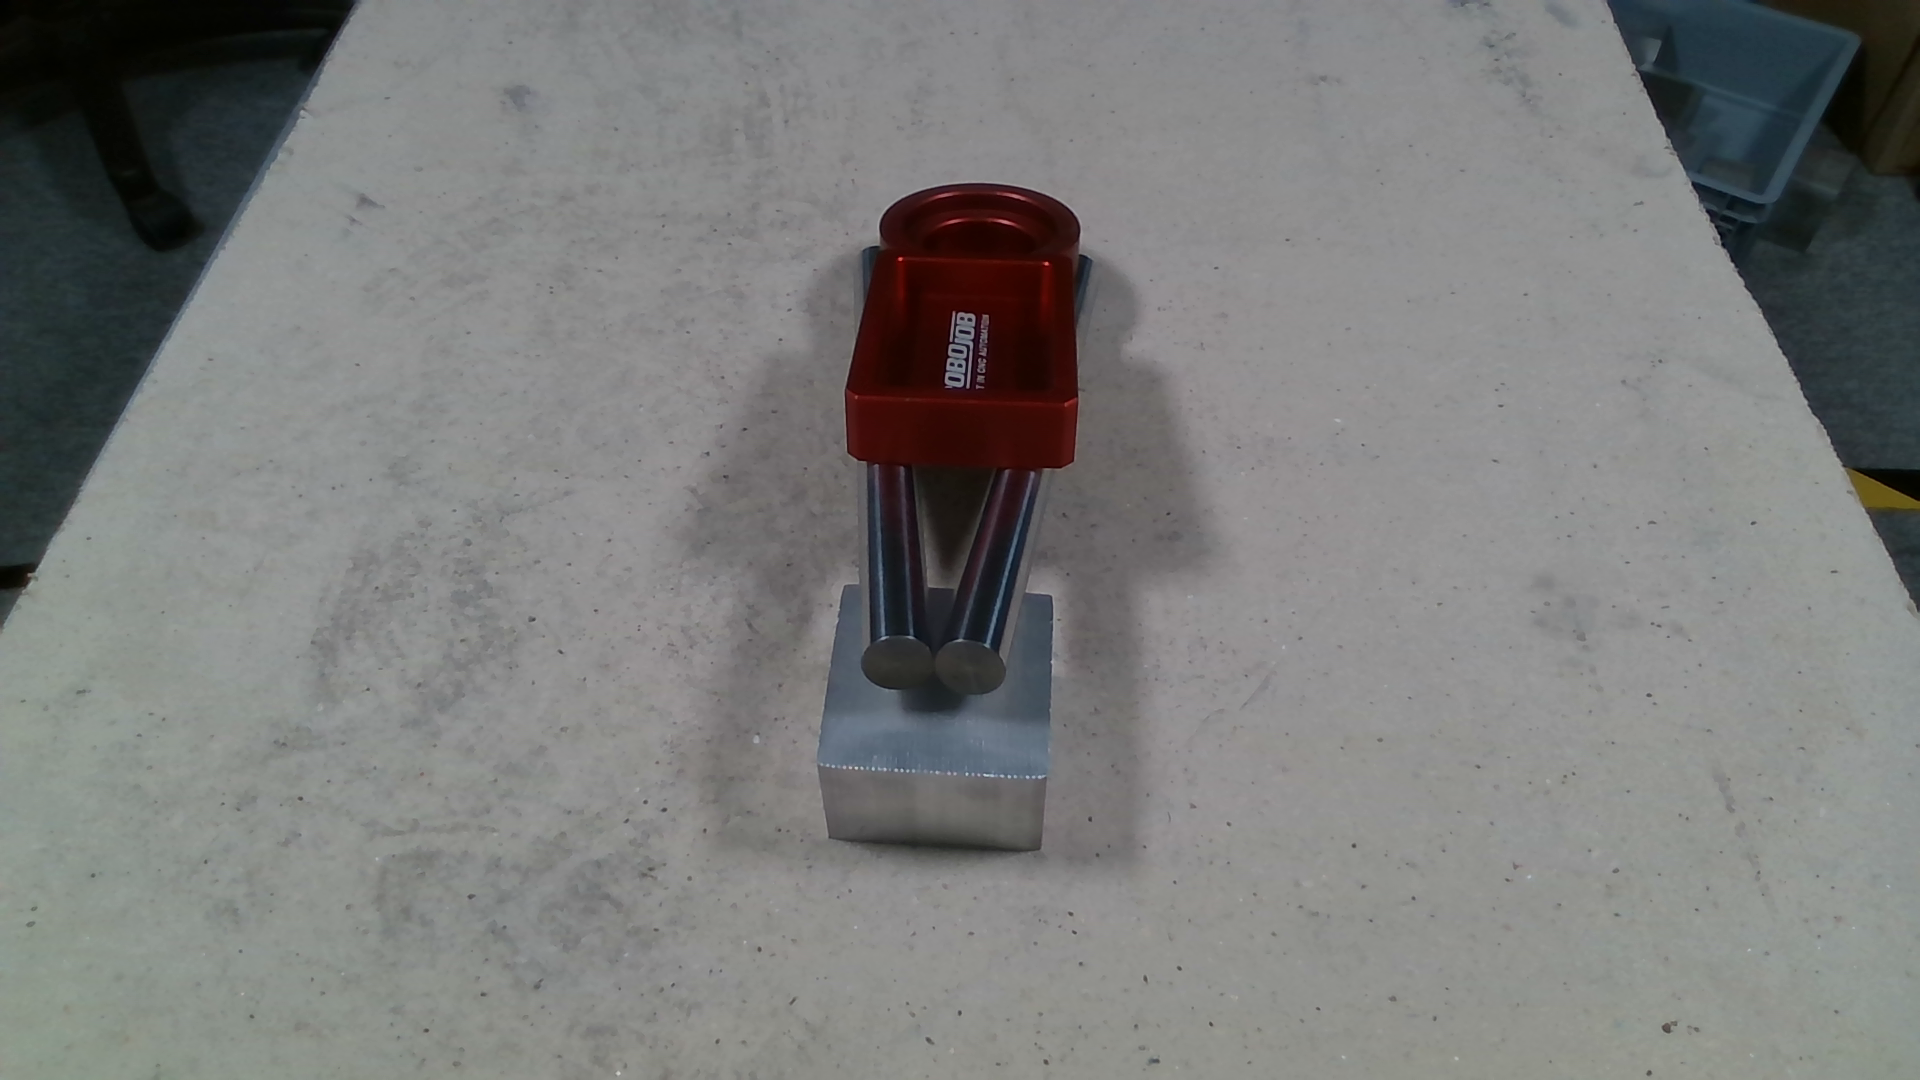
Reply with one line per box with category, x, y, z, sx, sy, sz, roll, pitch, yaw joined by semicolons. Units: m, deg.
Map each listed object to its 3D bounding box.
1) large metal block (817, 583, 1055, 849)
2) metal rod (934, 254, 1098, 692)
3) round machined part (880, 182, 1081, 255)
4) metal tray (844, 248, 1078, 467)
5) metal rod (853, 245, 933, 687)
large metal block;-0.007;0.065;0.515;0.080;0.050;0.080;3;50;2
metal rod;0.031;-0.046;0.584;0.025;0.025;0.299;8;38;7
round machined part;0.010;-0.138;0.684;0.098;0.042;0.098;0;39;0
metal tray;0.003;-0.081;0.584;0.090;0.030;0.130;2;37;2
metal rod;-0.033;-0.049;0.587;0.025;0.025;0.299;-3;37;-3
